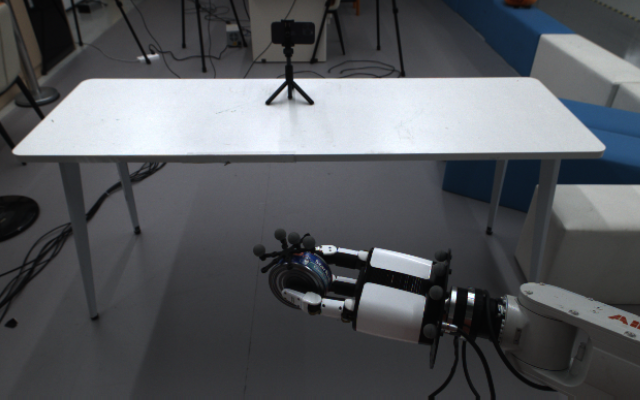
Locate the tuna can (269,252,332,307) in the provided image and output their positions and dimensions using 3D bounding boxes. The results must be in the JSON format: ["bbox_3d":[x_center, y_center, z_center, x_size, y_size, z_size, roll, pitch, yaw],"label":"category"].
[{"bbox_3d":[-0.024,0.118,0.675,0.085,0.085,0.034,11,34,13],"label":"tuna can"}]
